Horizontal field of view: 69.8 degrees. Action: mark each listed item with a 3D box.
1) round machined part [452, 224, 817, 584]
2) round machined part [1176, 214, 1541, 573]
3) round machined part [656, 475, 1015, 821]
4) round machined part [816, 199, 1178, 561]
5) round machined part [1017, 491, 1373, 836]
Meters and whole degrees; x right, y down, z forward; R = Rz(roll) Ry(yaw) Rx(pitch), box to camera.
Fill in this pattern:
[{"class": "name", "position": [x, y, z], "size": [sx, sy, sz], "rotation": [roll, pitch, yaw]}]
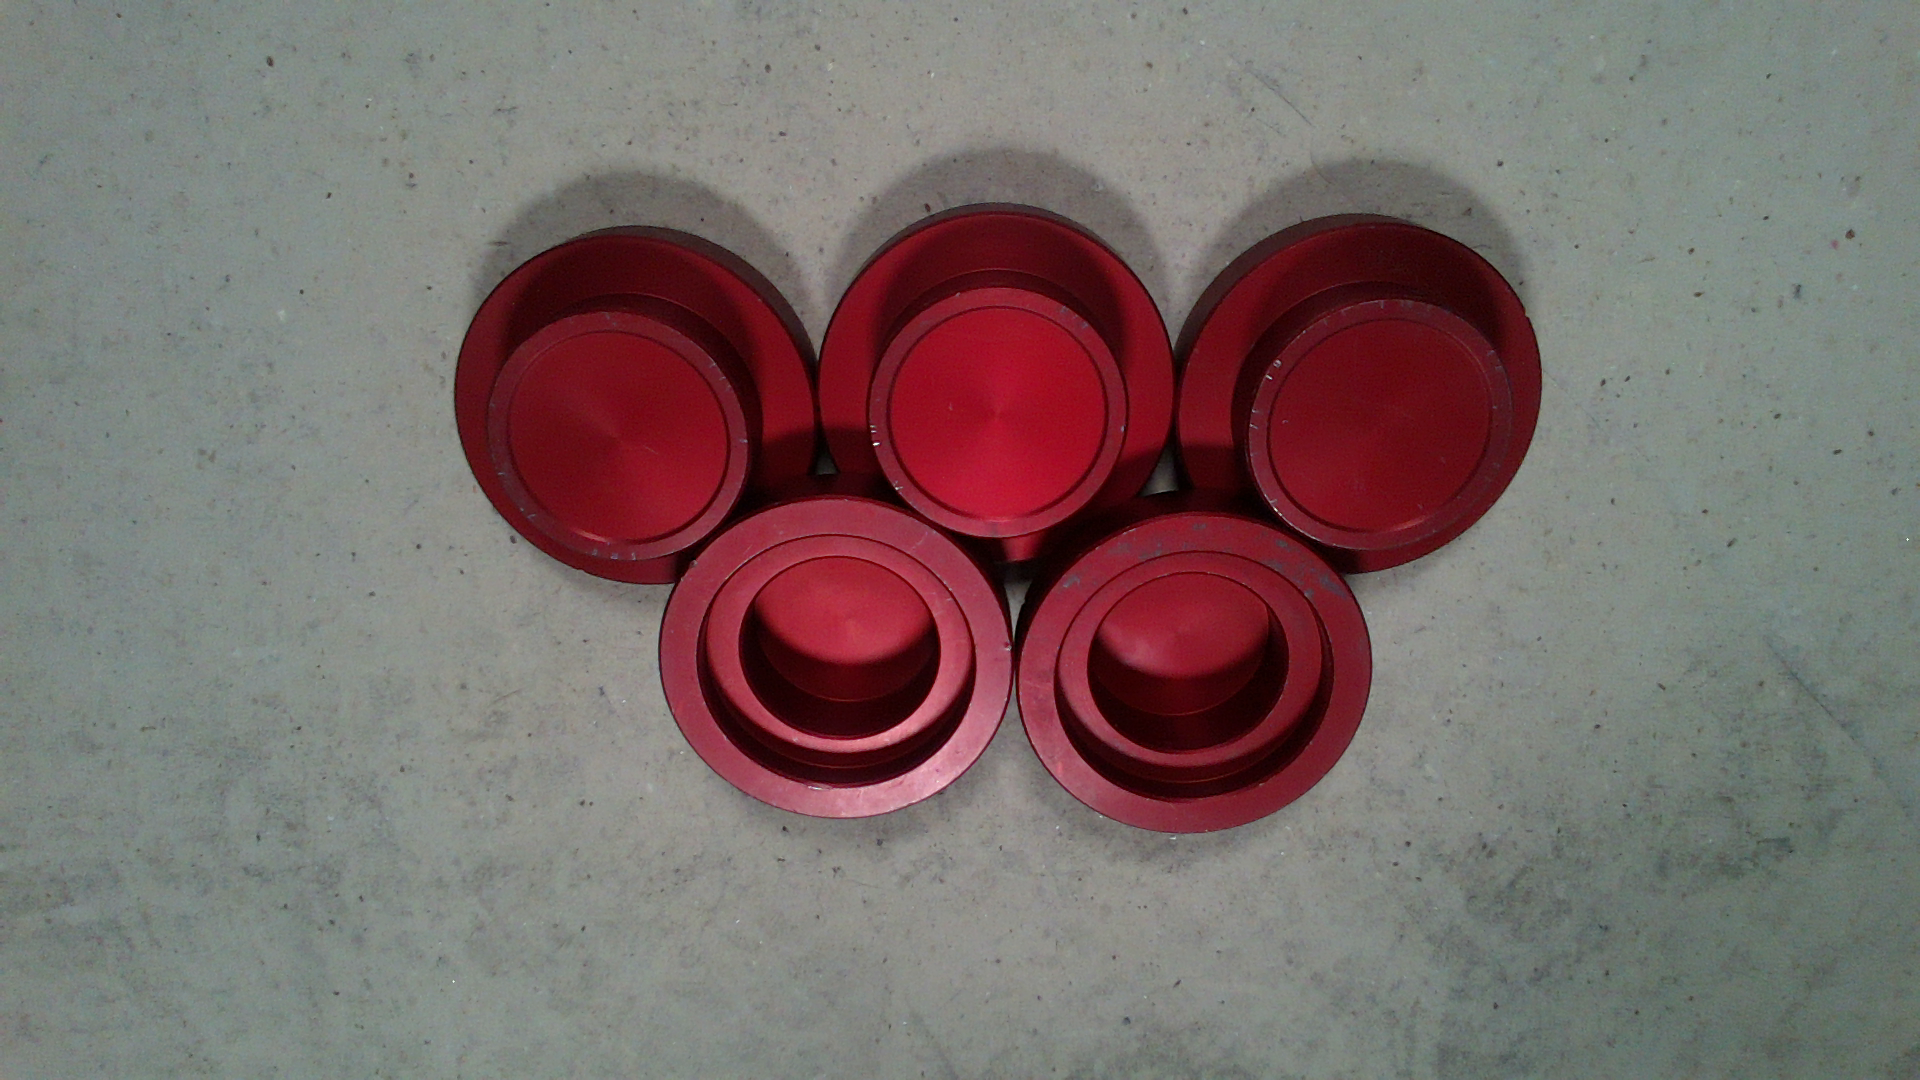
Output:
[{"class": "round machined part", "position": [-0.089, -0.033, 0.372], "size": [0.098, 0.042, 0.098], "rotation": [0, 110, 0]}, {"class": "round machined part", "position": [0.108, -0.036, 0.372], "size": [0.098, 0.042, 0.098], "rotation": [0, 110, 0]}, {"class": "round machined part", "position": [-0.034, 0.027, 0.395], "size": [0.098, 0.042, 0.098], "rotation": [0, 110, 0]}, {"class": "round machined part", "position": [0.010, -0.039, 0.371], "size": [0.098, 0.042, 0.098], "rotation": [0, 110, 0]}, {"class": "round machined part", "position": [0.065, 0.032, 0.397], "size": [0.098, 0.042, 0.098], "rotation": [0, 110, 0]}]
